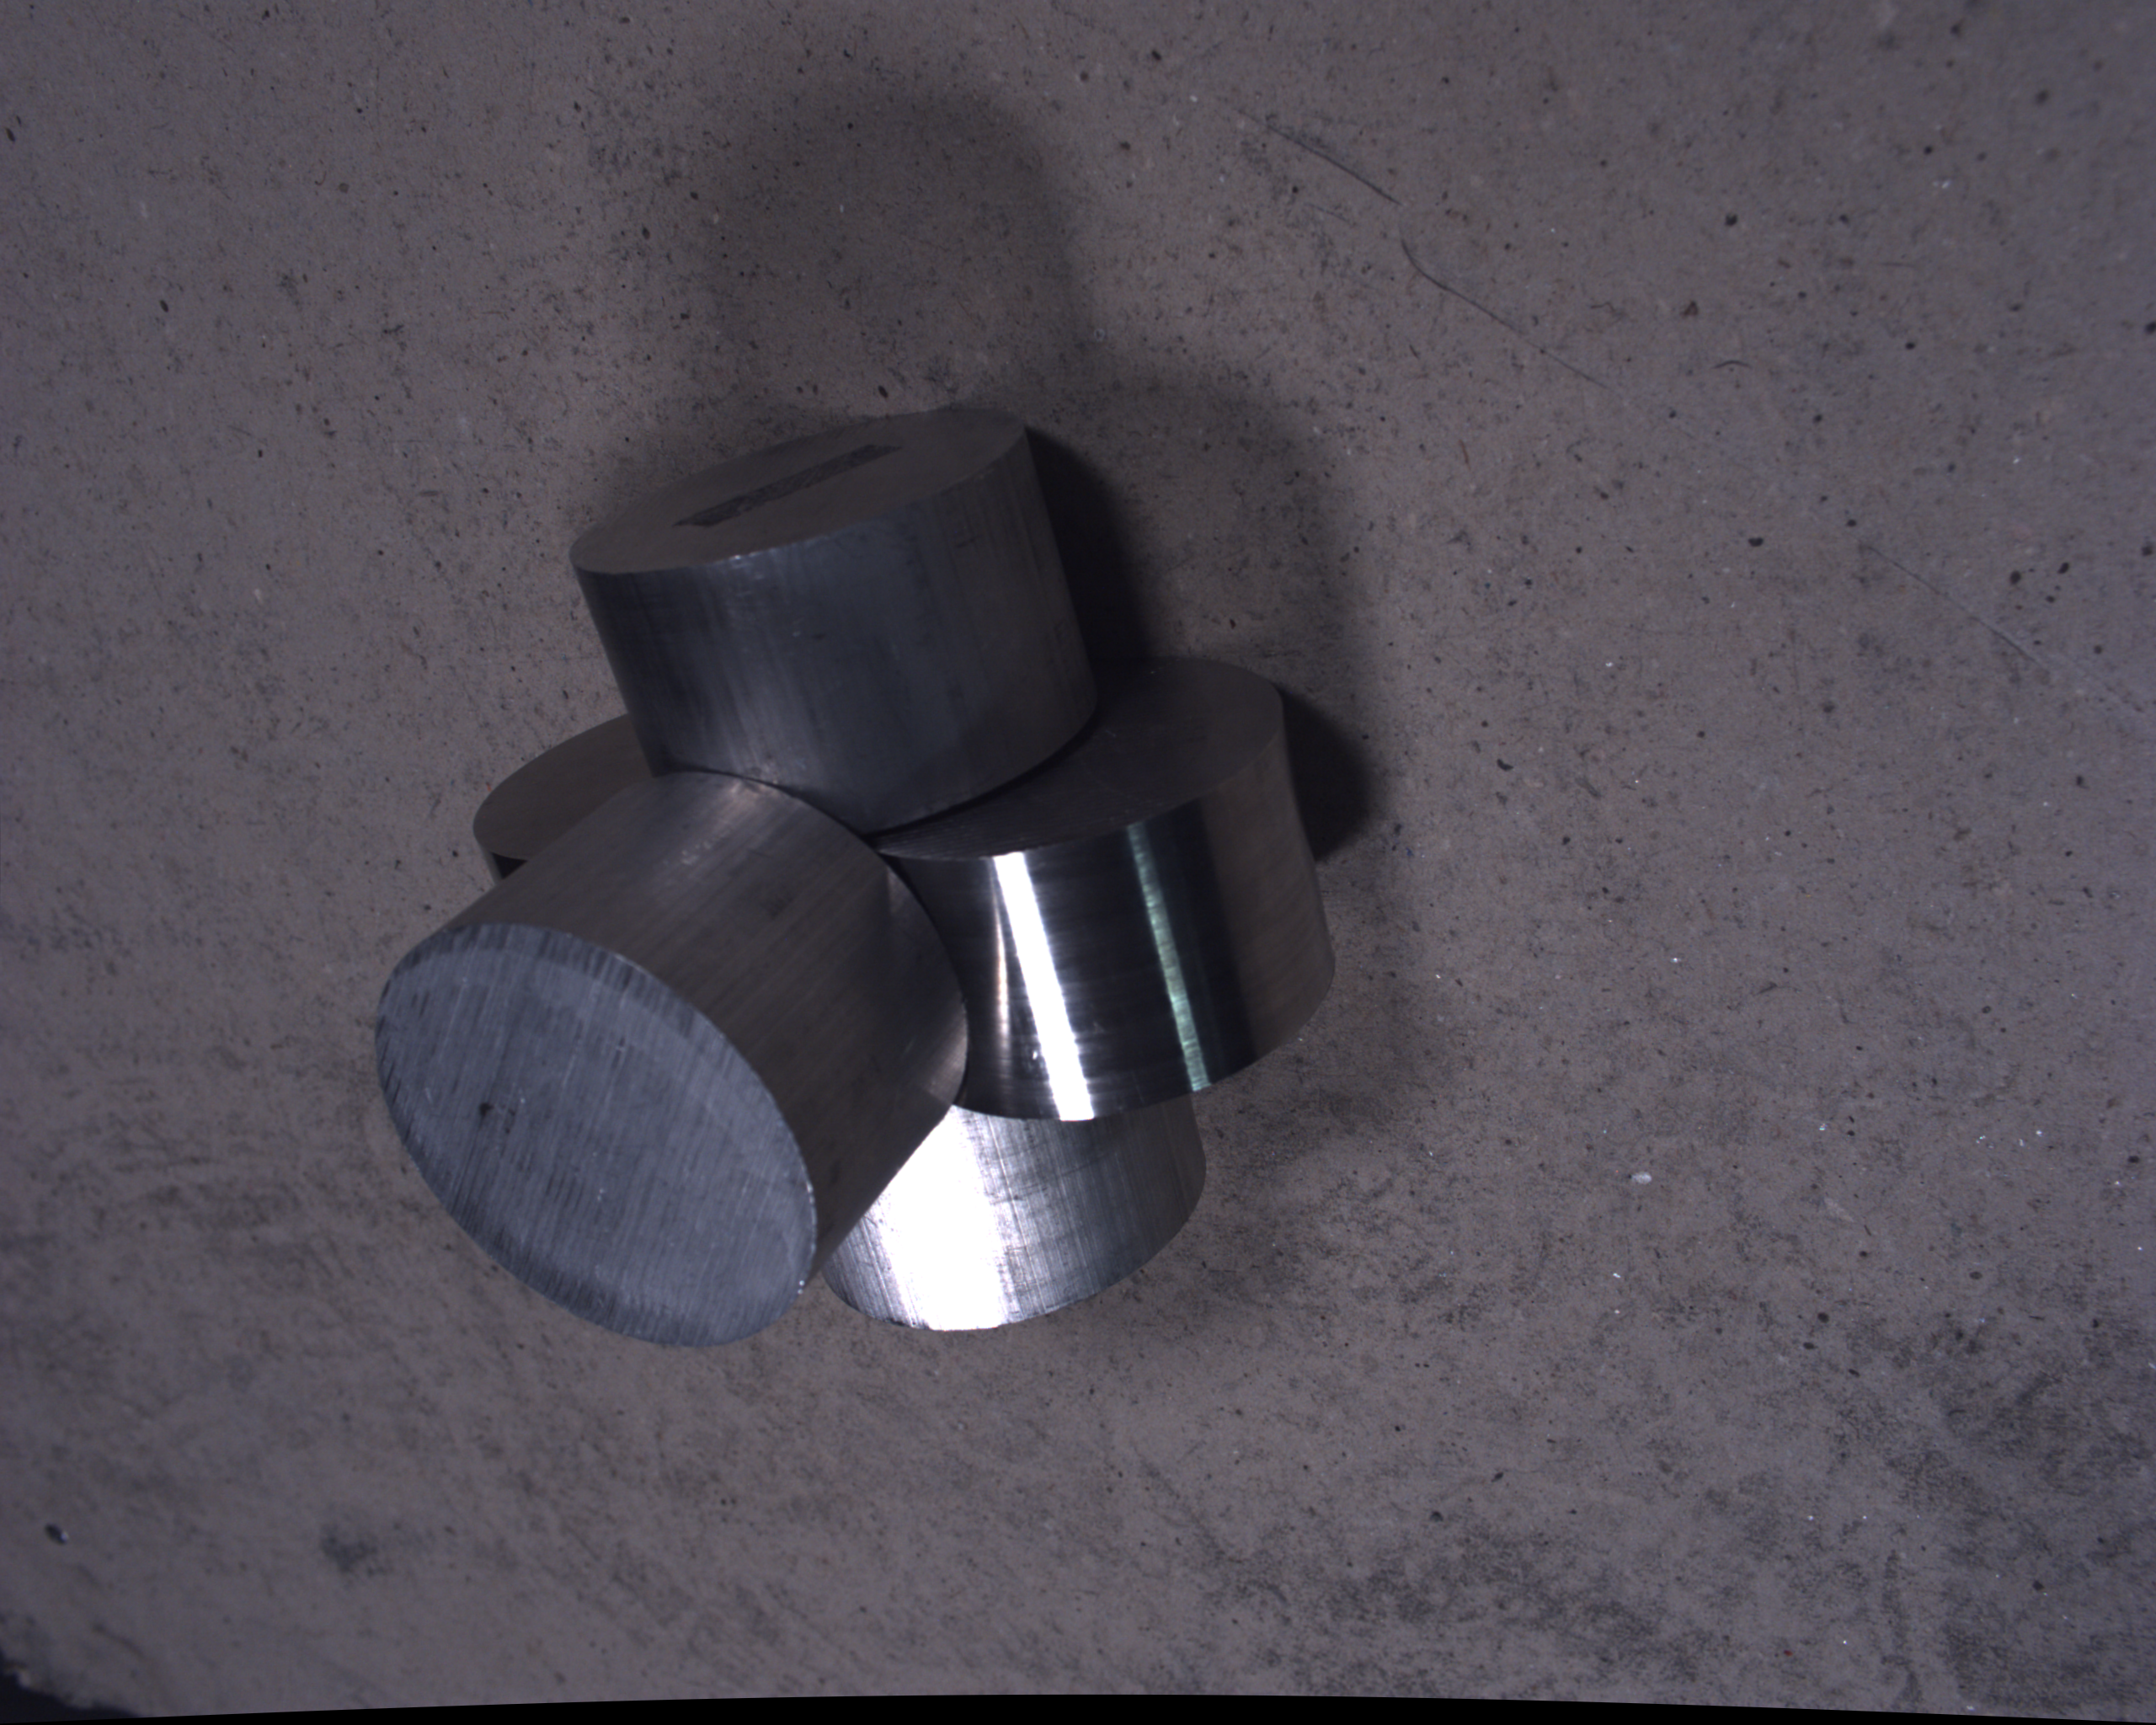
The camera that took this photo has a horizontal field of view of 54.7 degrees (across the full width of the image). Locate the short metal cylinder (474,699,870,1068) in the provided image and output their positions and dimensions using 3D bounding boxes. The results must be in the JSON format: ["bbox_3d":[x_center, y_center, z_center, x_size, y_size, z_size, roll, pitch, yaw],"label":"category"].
[{"bbox_3d":[-0.070,0.003,0.410,0.080,0.080,0.050,-1,118,28],"label":"short metal cylinder"}]

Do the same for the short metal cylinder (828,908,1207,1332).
[{"bbox_3d":[-0.019,0.046,0.410,0.080,0.080,0.050,0,118,28],"label":"short metal cylinder"}]

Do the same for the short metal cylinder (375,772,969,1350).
[{"bbox_3d":[-0.065,0.032,0.341,0.080,0.050,0.079,13,124,20],"label":"short metal cylinder"}]

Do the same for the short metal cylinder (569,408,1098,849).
[{"bbox_3d":[-0.042,-0.043,0.367,0.080,0.080,0.050,-2,118,28],"label":"short metal cylinder"}]

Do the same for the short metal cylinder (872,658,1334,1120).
[{"bbox_3d":[0.002,0.002,0.372,0.080,0.080,0.050,0,118,28],"label":"short metal cylinder"}]
